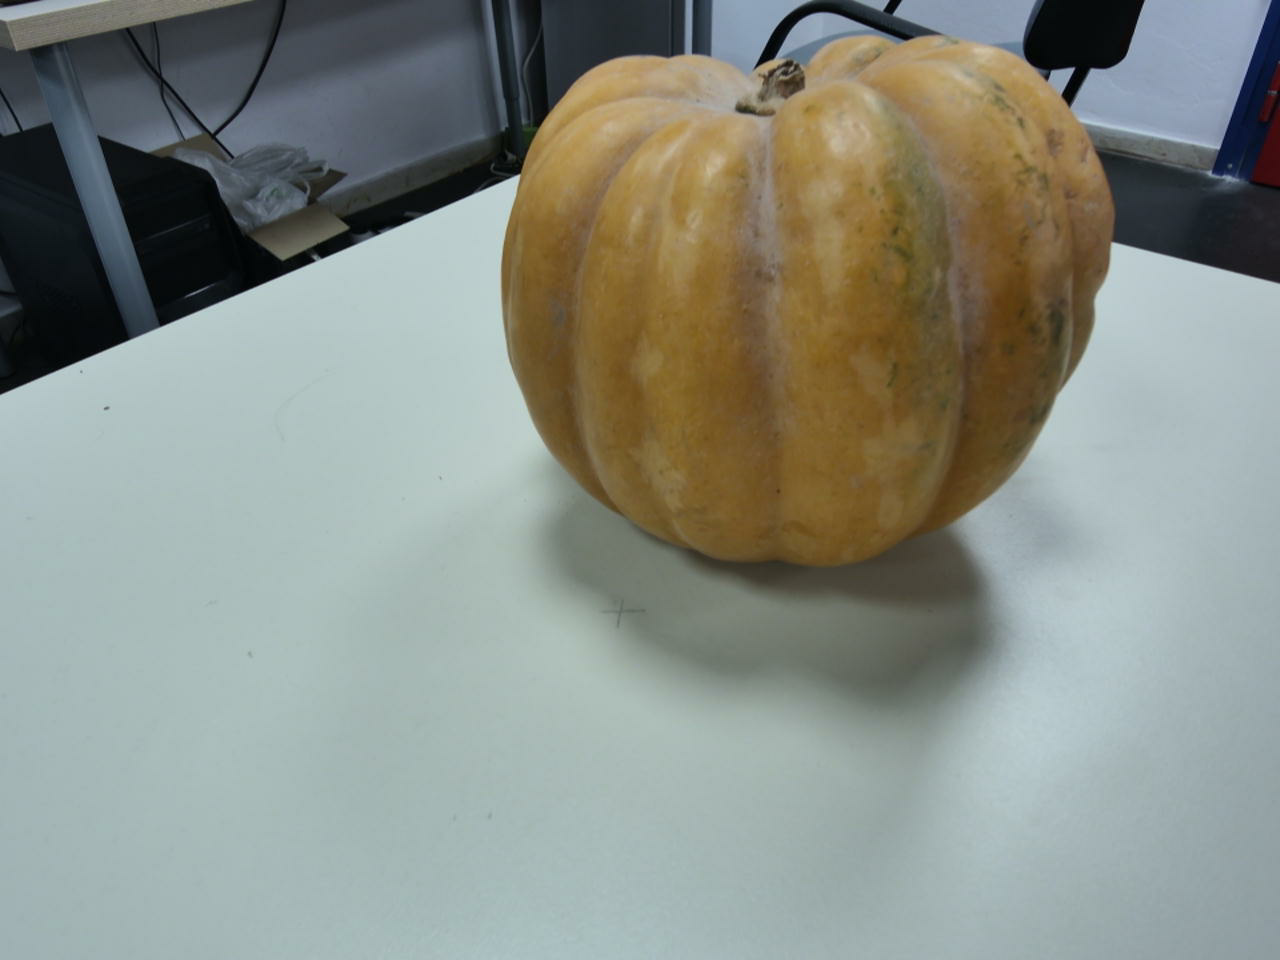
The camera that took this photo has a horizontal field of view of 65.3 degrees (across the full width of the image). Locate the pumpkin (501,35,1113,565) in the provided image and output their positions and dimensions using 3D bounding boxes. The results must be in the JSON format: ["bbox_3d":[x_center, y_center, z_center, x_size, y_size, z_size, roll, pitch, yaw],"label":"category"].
[{"bbox_3d":[0.059,-0.071,0.393,0.230,0.194,0.230,0,36,0],"label":"pumpkin"}]
